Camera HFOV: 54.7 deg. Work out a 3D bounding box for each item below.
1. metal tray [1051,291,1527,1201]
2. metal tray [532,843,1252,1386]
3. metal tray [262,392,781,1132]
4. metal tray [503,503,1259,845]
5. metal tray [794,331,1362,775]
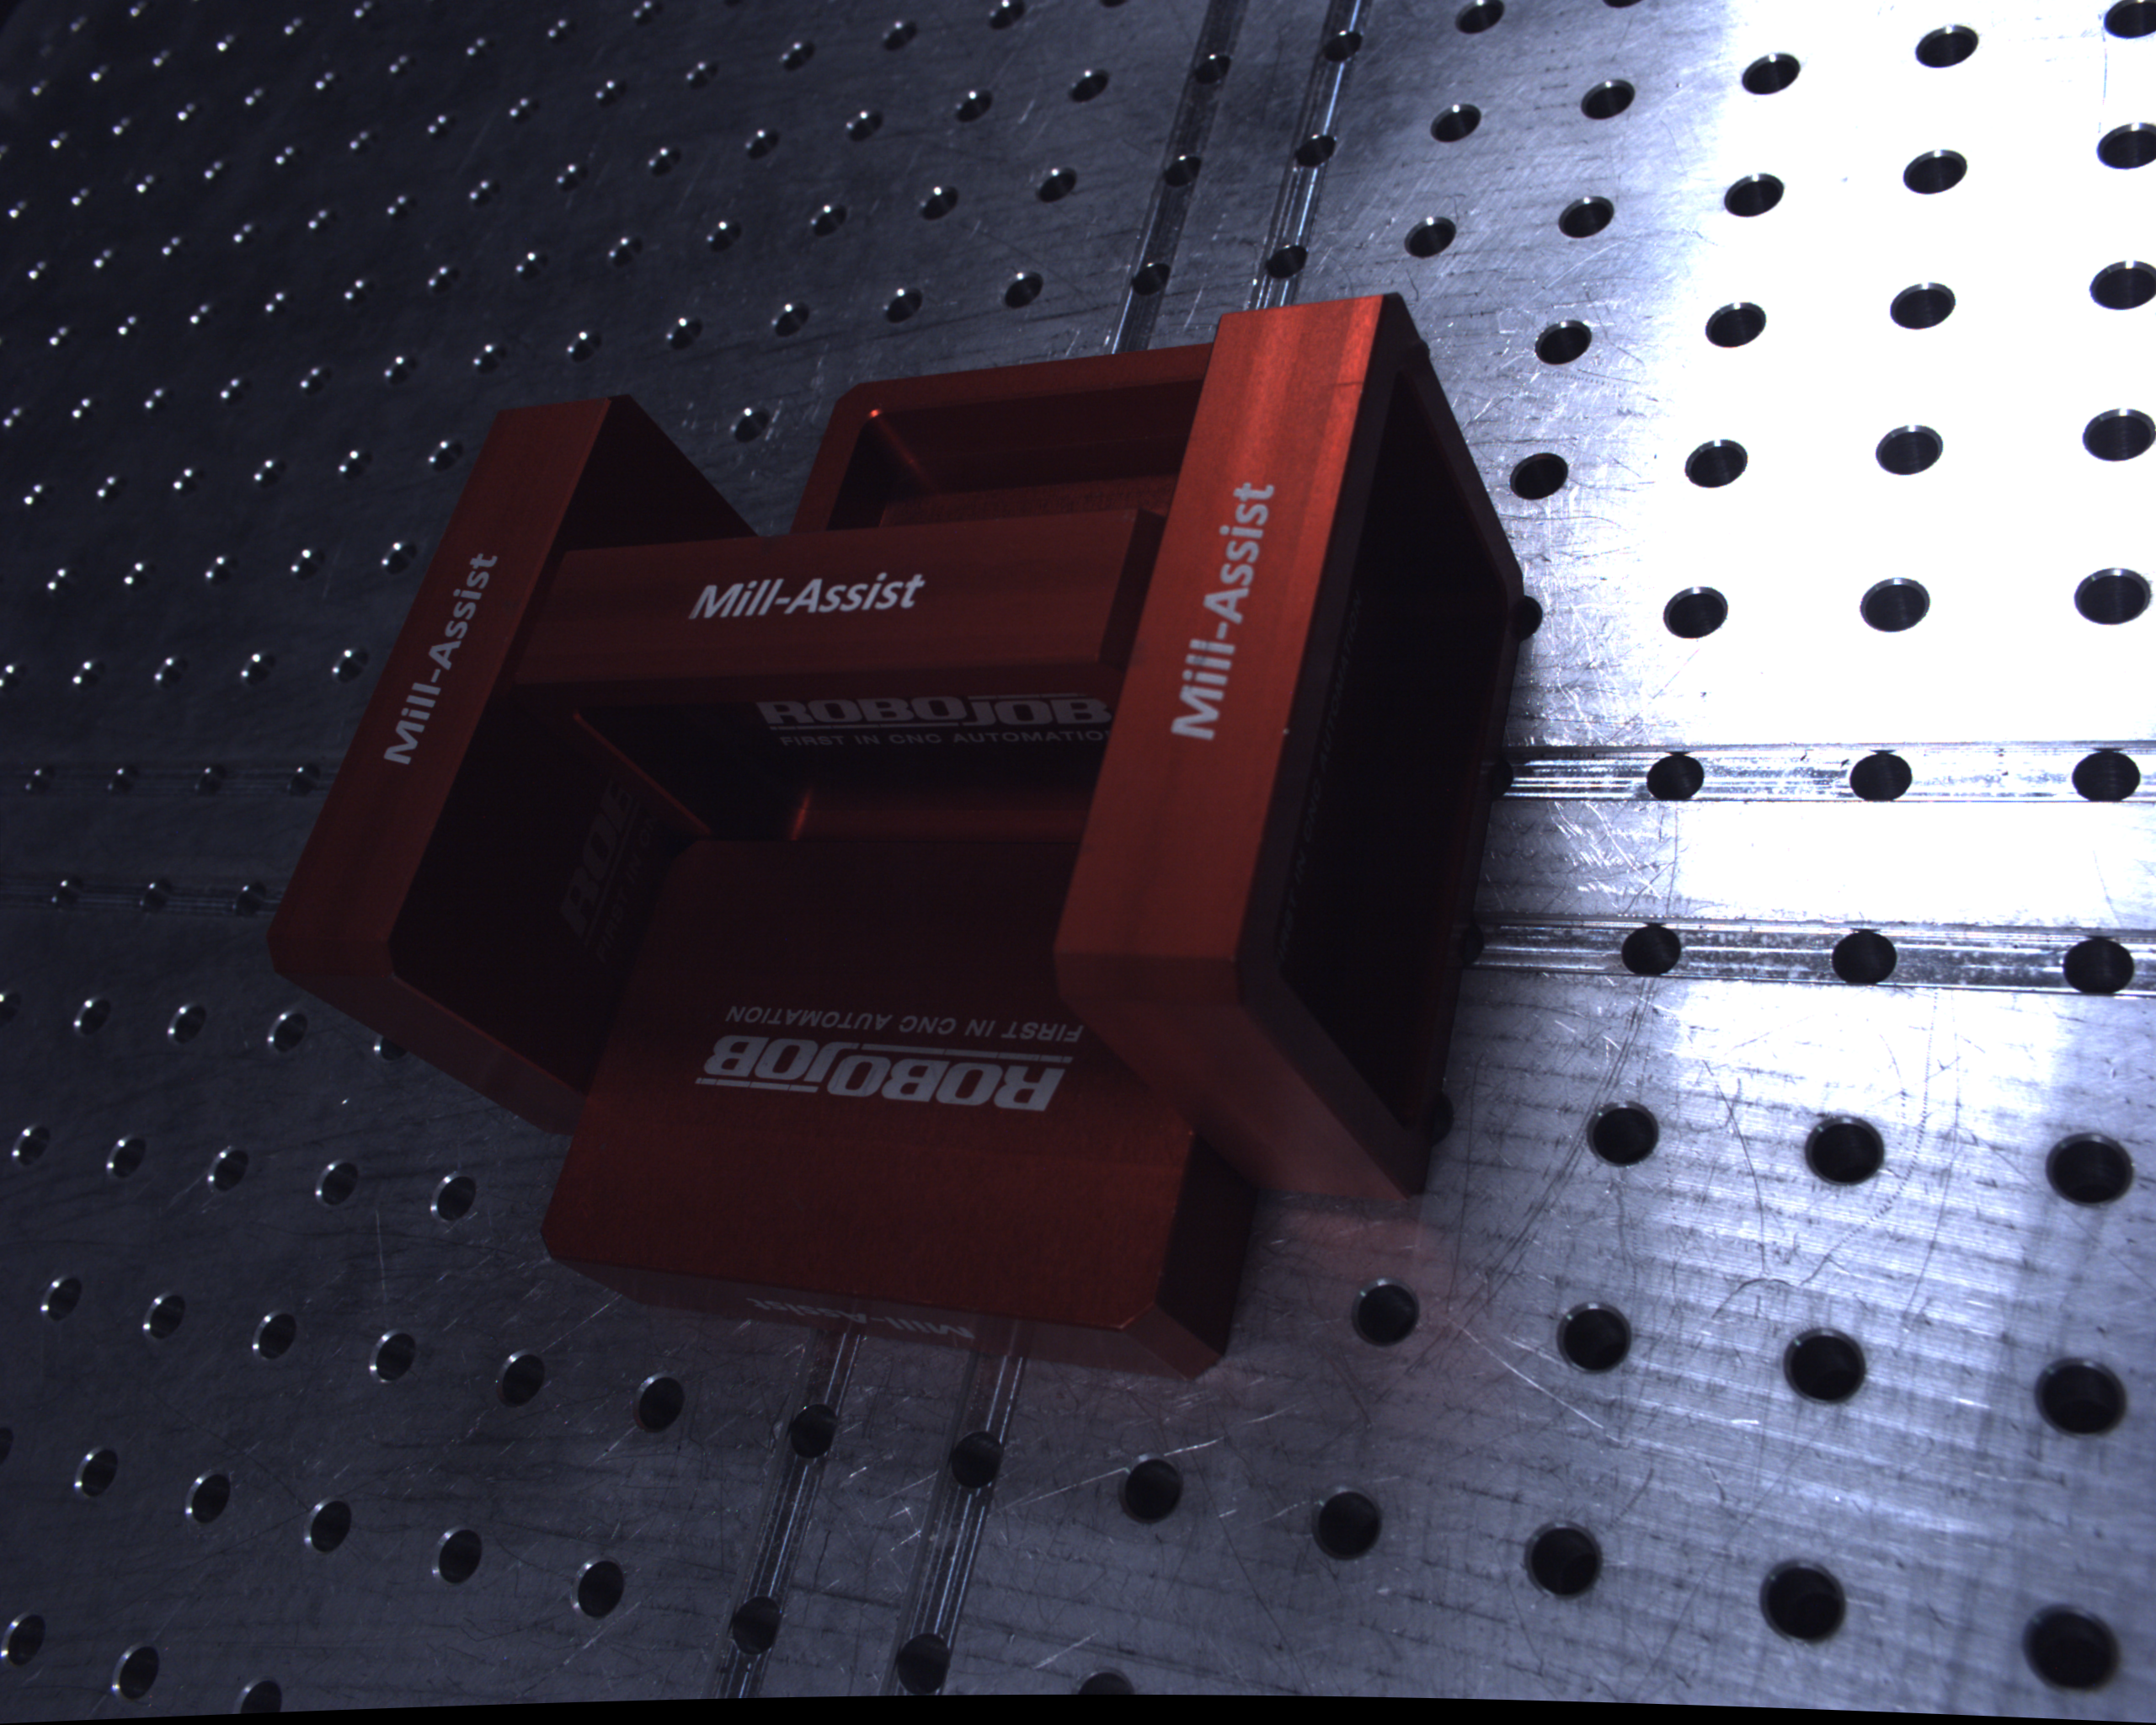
[{"bbox_3d":[0.042,-0.019,0.354,0.030,0.090,0.130,1,62,28],"label":"metal tray"},{"bbox_3d":[-0.031,0.043,0.392,0.130,0.030,0.090,1,62,28],"label":"metal tray"},{"bbox_3d":[-0.101,-0.019,0.429,0.030,0.090,0.130,1,62,28],"label":"metal tray"},{"bbox_3d":[-0.029,-0.026,0.394,0.130,0.090,0.030,1,63,28],"label":"metal tray"},{"bbox_3d":[-0.001,-0.064,0.443,0.130,0.030,0.090,1,62,28],"label":"metal tray"}]
